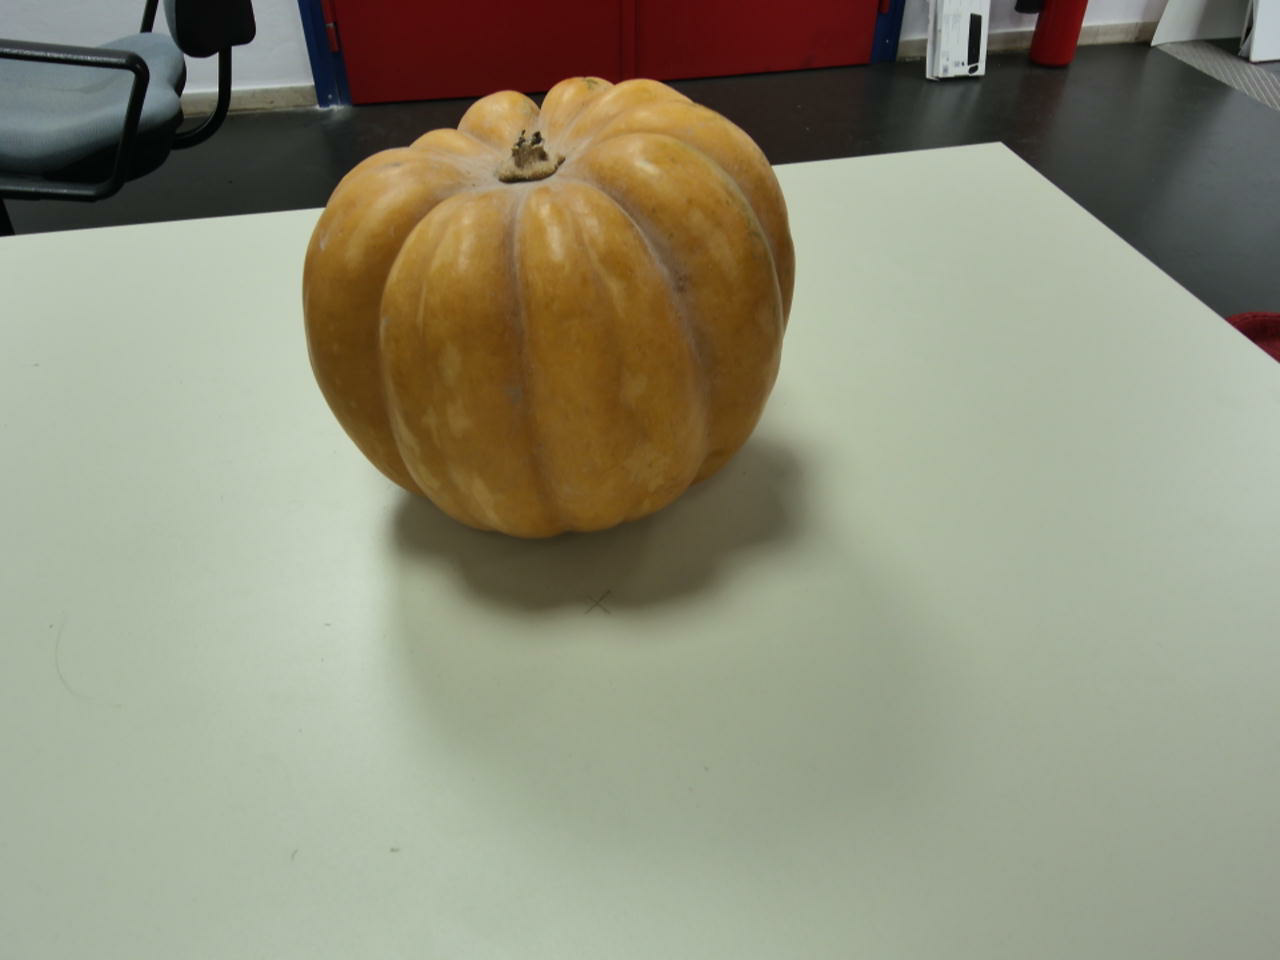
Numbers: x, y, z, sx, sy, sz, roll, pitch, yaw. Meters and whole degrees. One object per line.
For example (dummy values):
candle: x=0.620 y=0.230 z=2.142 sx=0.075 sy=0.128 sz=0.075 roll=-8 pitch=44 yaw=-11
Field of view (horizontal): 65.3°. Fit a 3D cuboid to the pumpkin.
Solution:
pumpkin: x=-0.038 y=-0.080 z=0.478 sx=0.230 sy=0.194 sz=0.230 roll=0 pitch=39 yaw=0
